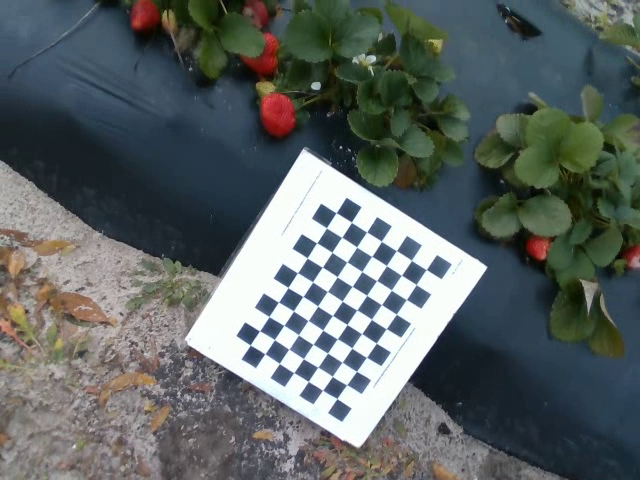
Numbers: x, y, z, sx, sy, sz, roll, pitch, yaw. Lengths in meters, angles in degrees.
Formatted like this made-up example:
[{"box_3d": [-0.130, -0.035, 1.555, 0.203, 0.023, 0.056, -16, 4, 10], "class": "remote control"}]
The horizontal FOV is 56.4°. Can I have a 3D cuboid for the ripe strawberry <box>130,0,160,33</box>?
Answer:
[{"box_3d": [-0.219, -0.282, 0.748, 0.043, 0.052, 0.041, 14, -37, 3], "class": "ripe strawberry"}]

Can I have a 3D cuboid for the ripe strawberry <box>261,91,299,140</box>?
[{"box_3d": [-0.060, -0.161, 0.752, 0.057, 0.056, 0.064, -4, 10, 19], "class": "ripe strawberry"}]
